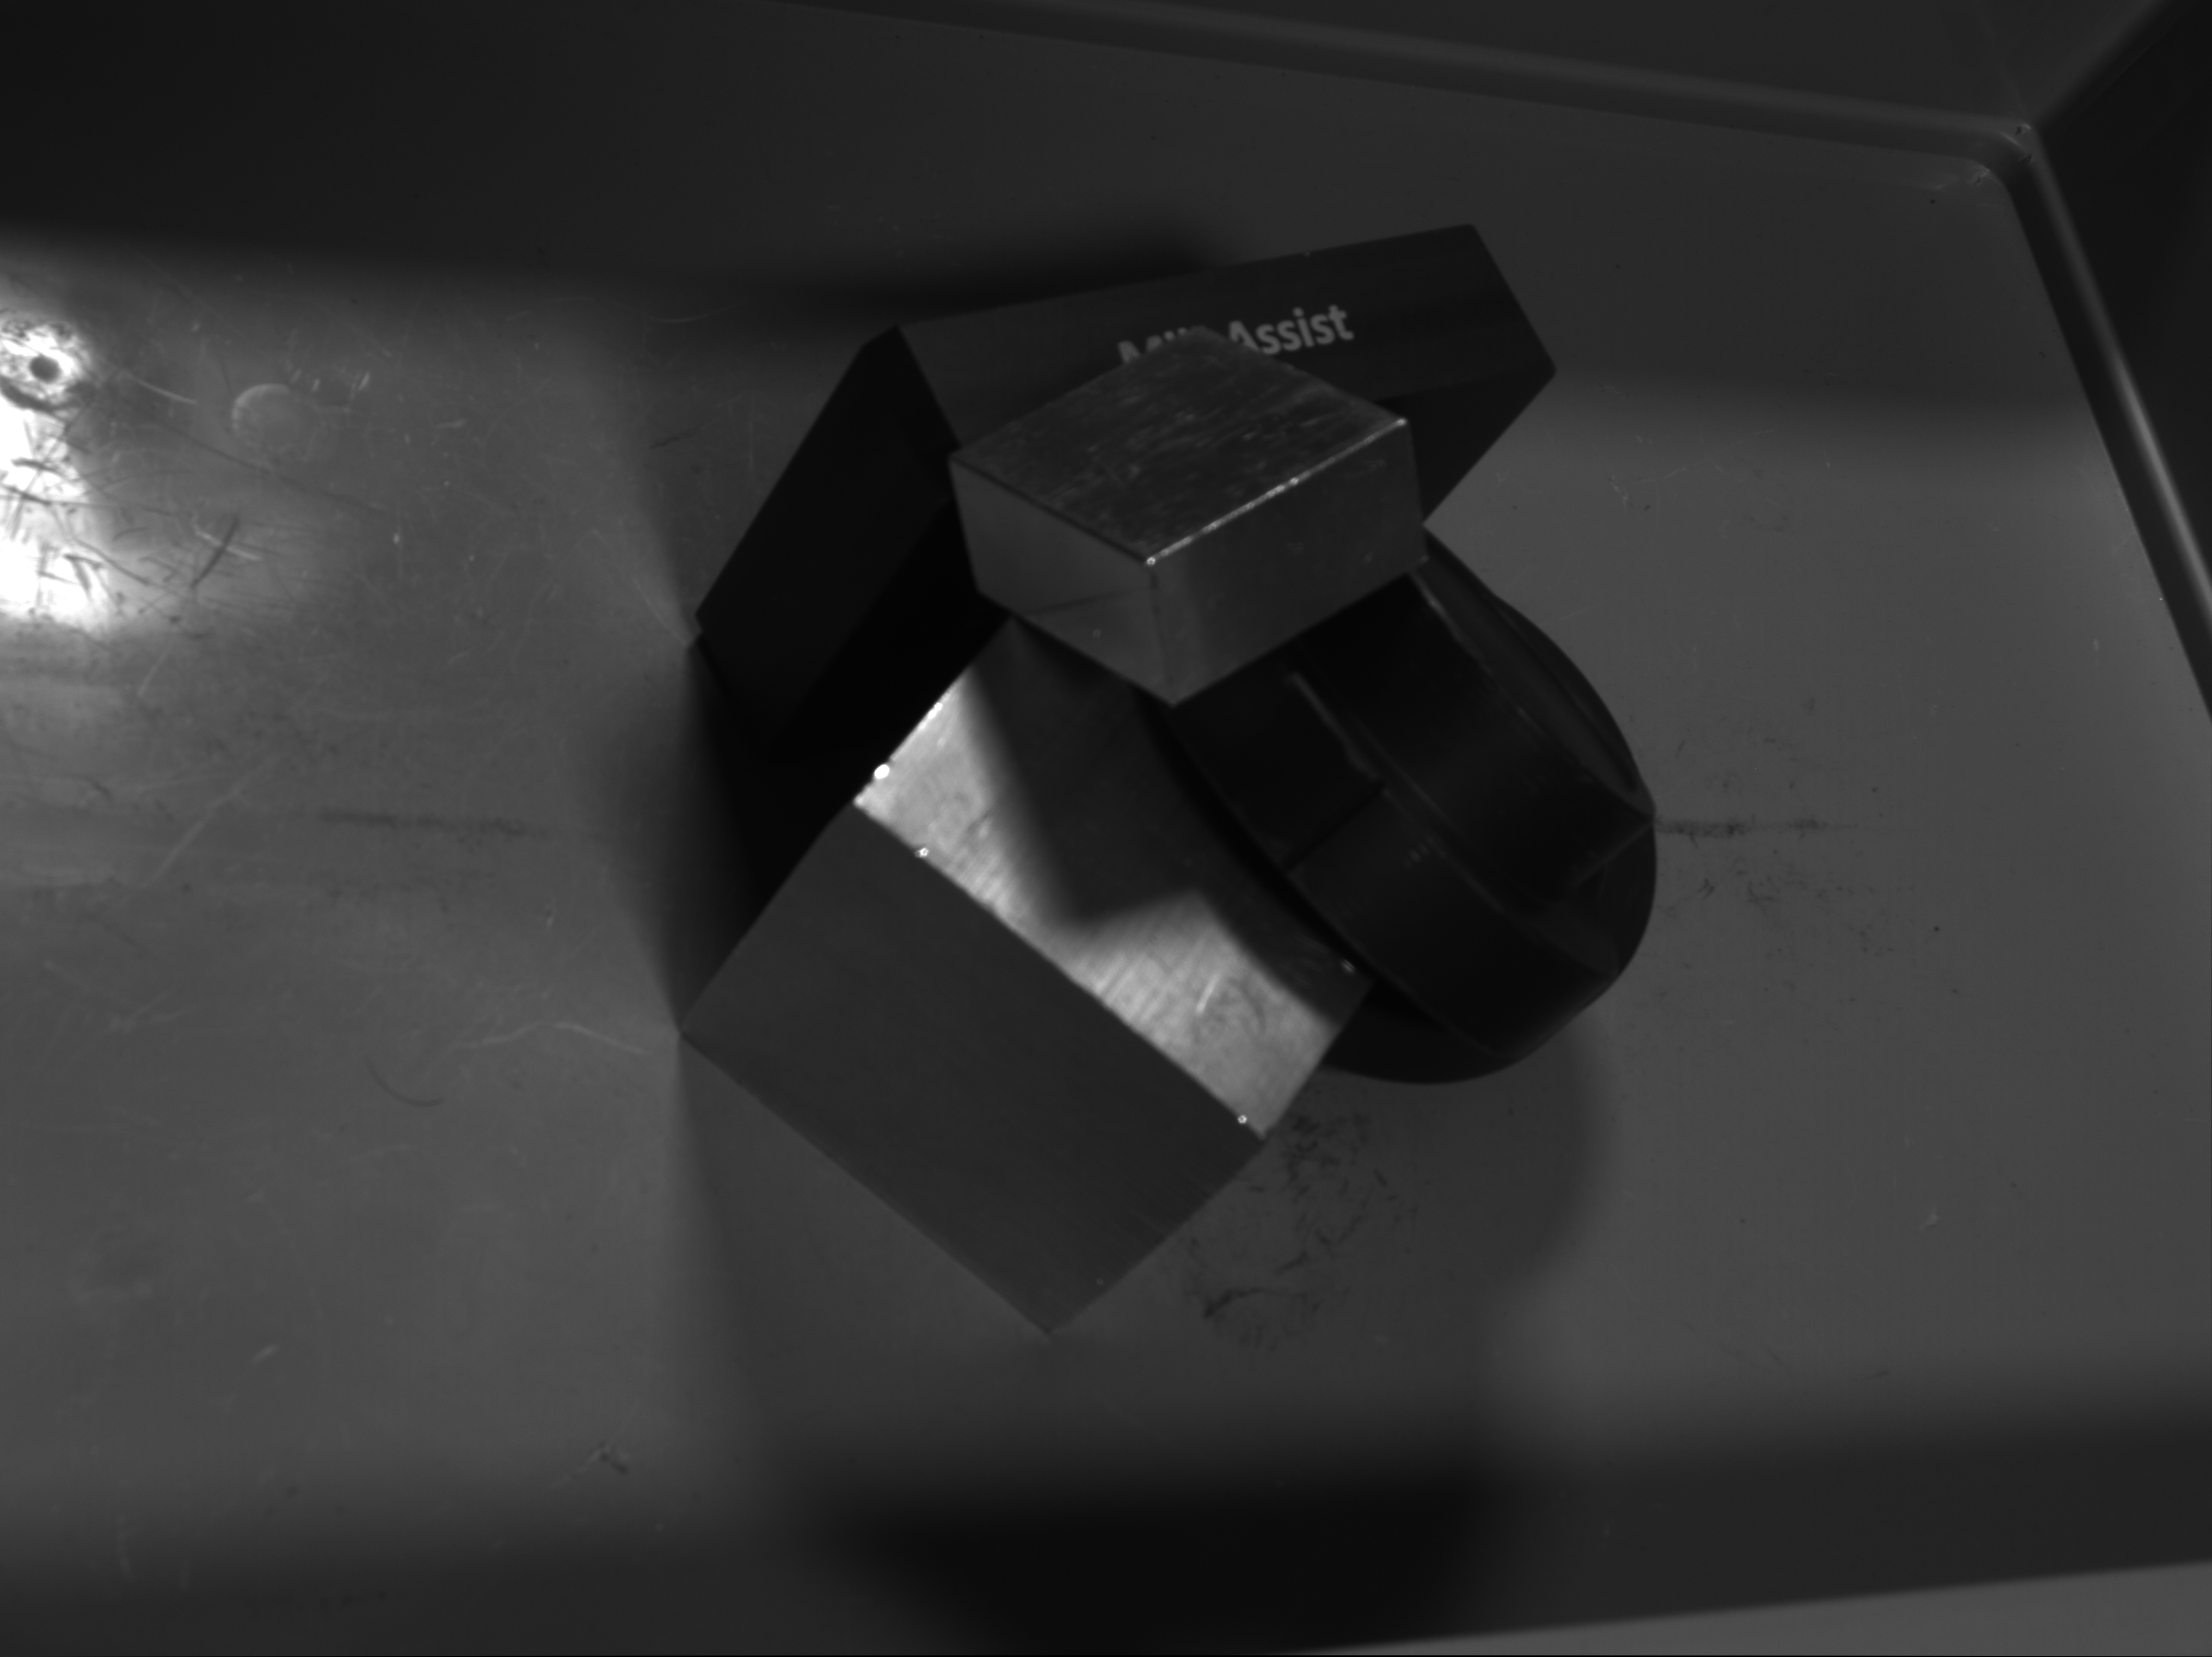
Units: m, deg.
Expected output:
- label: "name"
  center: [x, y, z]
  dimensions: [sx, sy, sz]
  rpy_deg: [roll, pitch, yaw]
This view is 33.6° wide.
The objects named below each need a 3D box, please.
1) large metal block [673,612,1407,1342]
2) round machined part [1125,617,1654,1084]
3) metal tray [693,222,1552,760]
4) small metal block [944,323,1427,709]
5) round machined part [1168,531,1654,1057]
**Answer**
- label: "large metal block"
  center: [-0.011, 0.024, 0.583]
  dimensions: [0.080, 0.080, 0.050]
  rpy_deg: [39, 51, -1]
- label: "round machined part"
  center: [0.045, 0.001, 0.652]
  dimensions: [0.098, 0.042, 0.098]
  rpy_deg: [14, 56, -21]
- label: "metal tray"
  center: [0.003, -0.059, 0.634]
  dimensions: [0.130, 0.090, 0.030]
  rpy_deg: [-16, 70, -34]
- label: "small metal block"
  center: [0.012, -0.049, 0.556]
  dimensions: [0.050, 0.025, 0.050]
  rpy_deg: [-31, 39, -25]
- label: "round machined part"
  center: [0.051, -0.014, 0.589]
  dimensions: [0.098, 0.042, 0.098]
  rpy_deg: [46, 13, -14]
